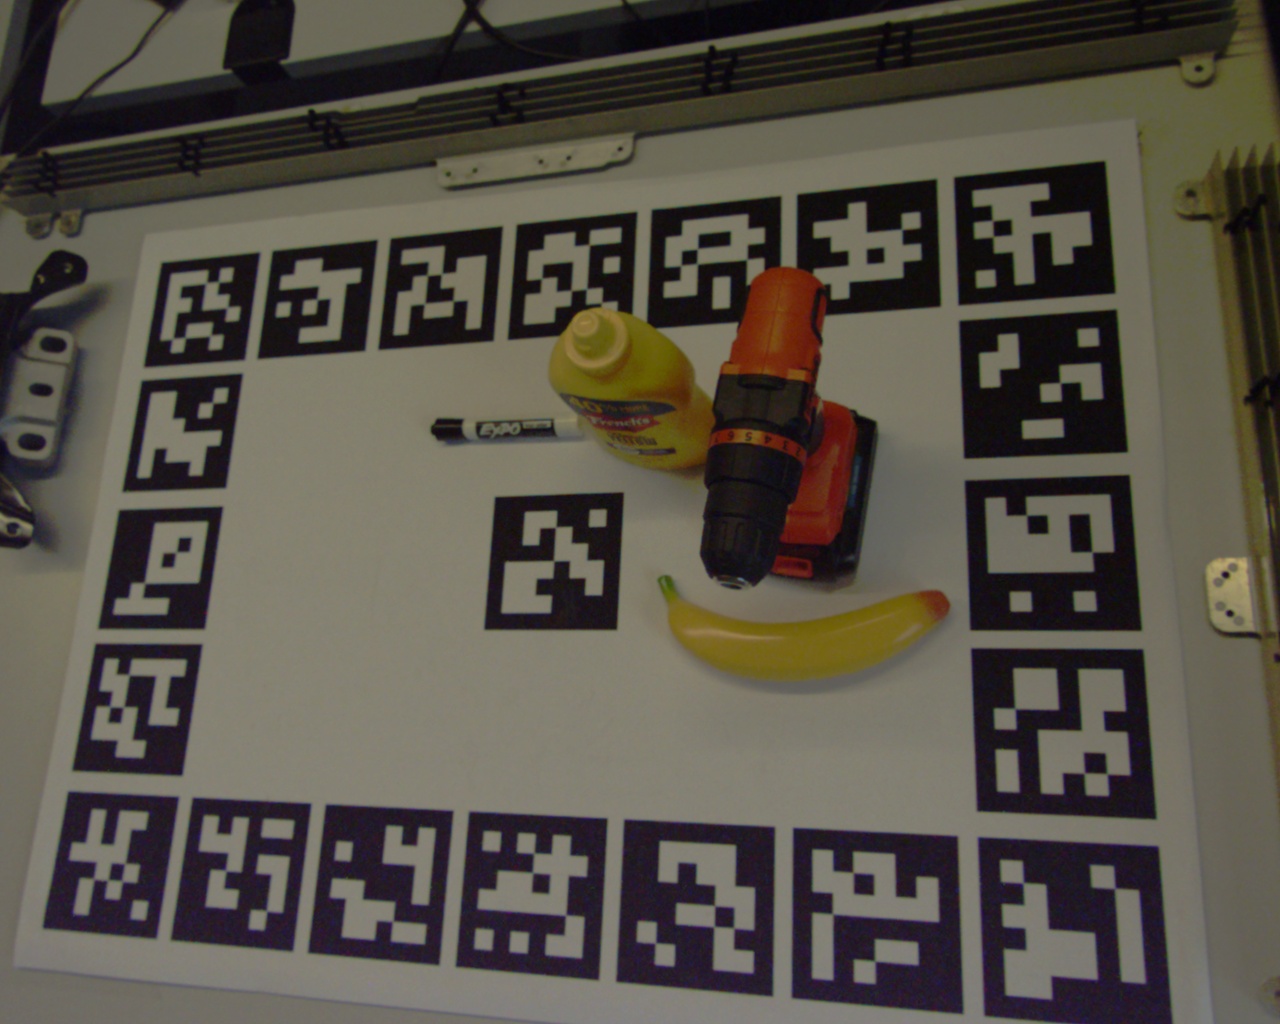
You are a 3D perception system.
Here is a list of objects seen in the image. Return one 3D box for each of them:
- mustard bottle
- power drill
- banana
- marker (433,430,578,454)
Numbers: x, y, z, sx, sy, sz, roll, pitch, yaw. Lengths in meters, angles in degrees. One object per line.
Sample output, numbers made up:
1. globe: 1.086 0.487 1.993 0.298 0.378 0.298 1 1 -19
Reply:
1. mustard bottle: -0.010 -0.071 0.801 0.097 0.190 0.058 10 79 17
2. power drill: 0.085 -0.015 0.740 0.058 0.185 0.184 12 77 16
3. banana: 0.097 0.093 0.811 0.199 0.038 0.074 6 79 20
4. marker: -0.110 -0.056 0.919 0.122 0.019 0.019 0 77 17
